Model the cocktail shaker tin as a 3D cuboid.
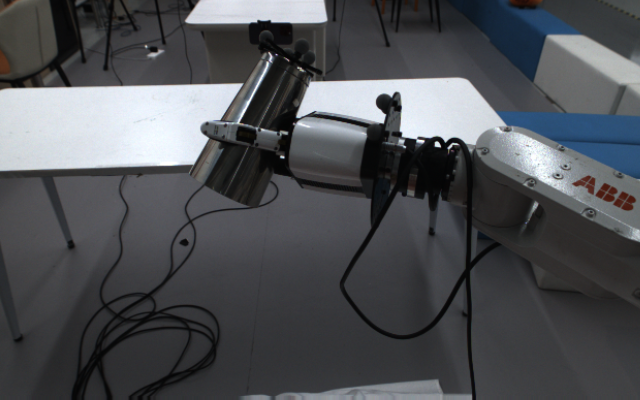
[{"bbox_3d":[-0.077,-0.090,0.587,0.093,0.170,0.093,27,2,-1],"label":"cocktail shaker tin"}]
